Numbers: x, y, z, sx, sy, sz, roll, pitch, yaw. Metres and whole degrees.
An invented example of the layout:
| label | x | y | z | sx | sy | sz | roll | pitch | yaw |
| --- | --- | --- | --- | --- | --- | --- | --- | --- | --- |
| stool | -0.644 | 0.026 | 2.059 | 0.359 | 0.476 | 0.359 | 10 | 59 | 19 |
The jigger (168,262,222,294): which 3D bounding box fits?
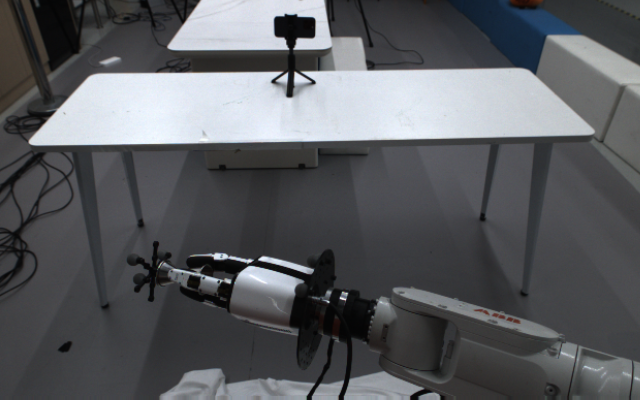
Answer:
| label | x | y | z | sx | sy | sz | roll | pitch | yaw |
| --- | --- | --- | --- | --- | --- | --- | --- | --- | --- |
| jigger | -0.186 | 0.105 | 0.696 | 0.071 | 0.043 | 0.043 | 5 | 34 | 15 |
